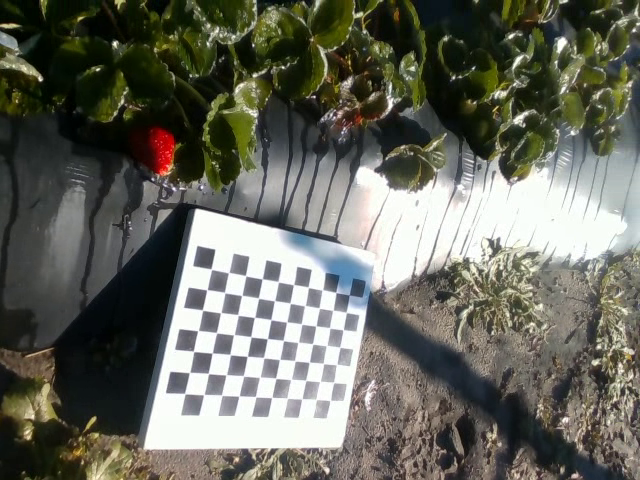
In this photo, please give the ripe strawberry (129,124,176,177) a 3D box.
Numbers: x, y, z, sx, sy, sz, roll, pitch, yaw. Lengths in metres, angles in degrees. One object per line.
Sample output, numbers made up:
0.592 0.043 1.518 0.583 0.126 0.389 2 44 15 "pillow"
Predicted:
-0.139 -0.073 0.528 0.041 0.053 0.047 6 -39 -38 "ripe strawberry"
